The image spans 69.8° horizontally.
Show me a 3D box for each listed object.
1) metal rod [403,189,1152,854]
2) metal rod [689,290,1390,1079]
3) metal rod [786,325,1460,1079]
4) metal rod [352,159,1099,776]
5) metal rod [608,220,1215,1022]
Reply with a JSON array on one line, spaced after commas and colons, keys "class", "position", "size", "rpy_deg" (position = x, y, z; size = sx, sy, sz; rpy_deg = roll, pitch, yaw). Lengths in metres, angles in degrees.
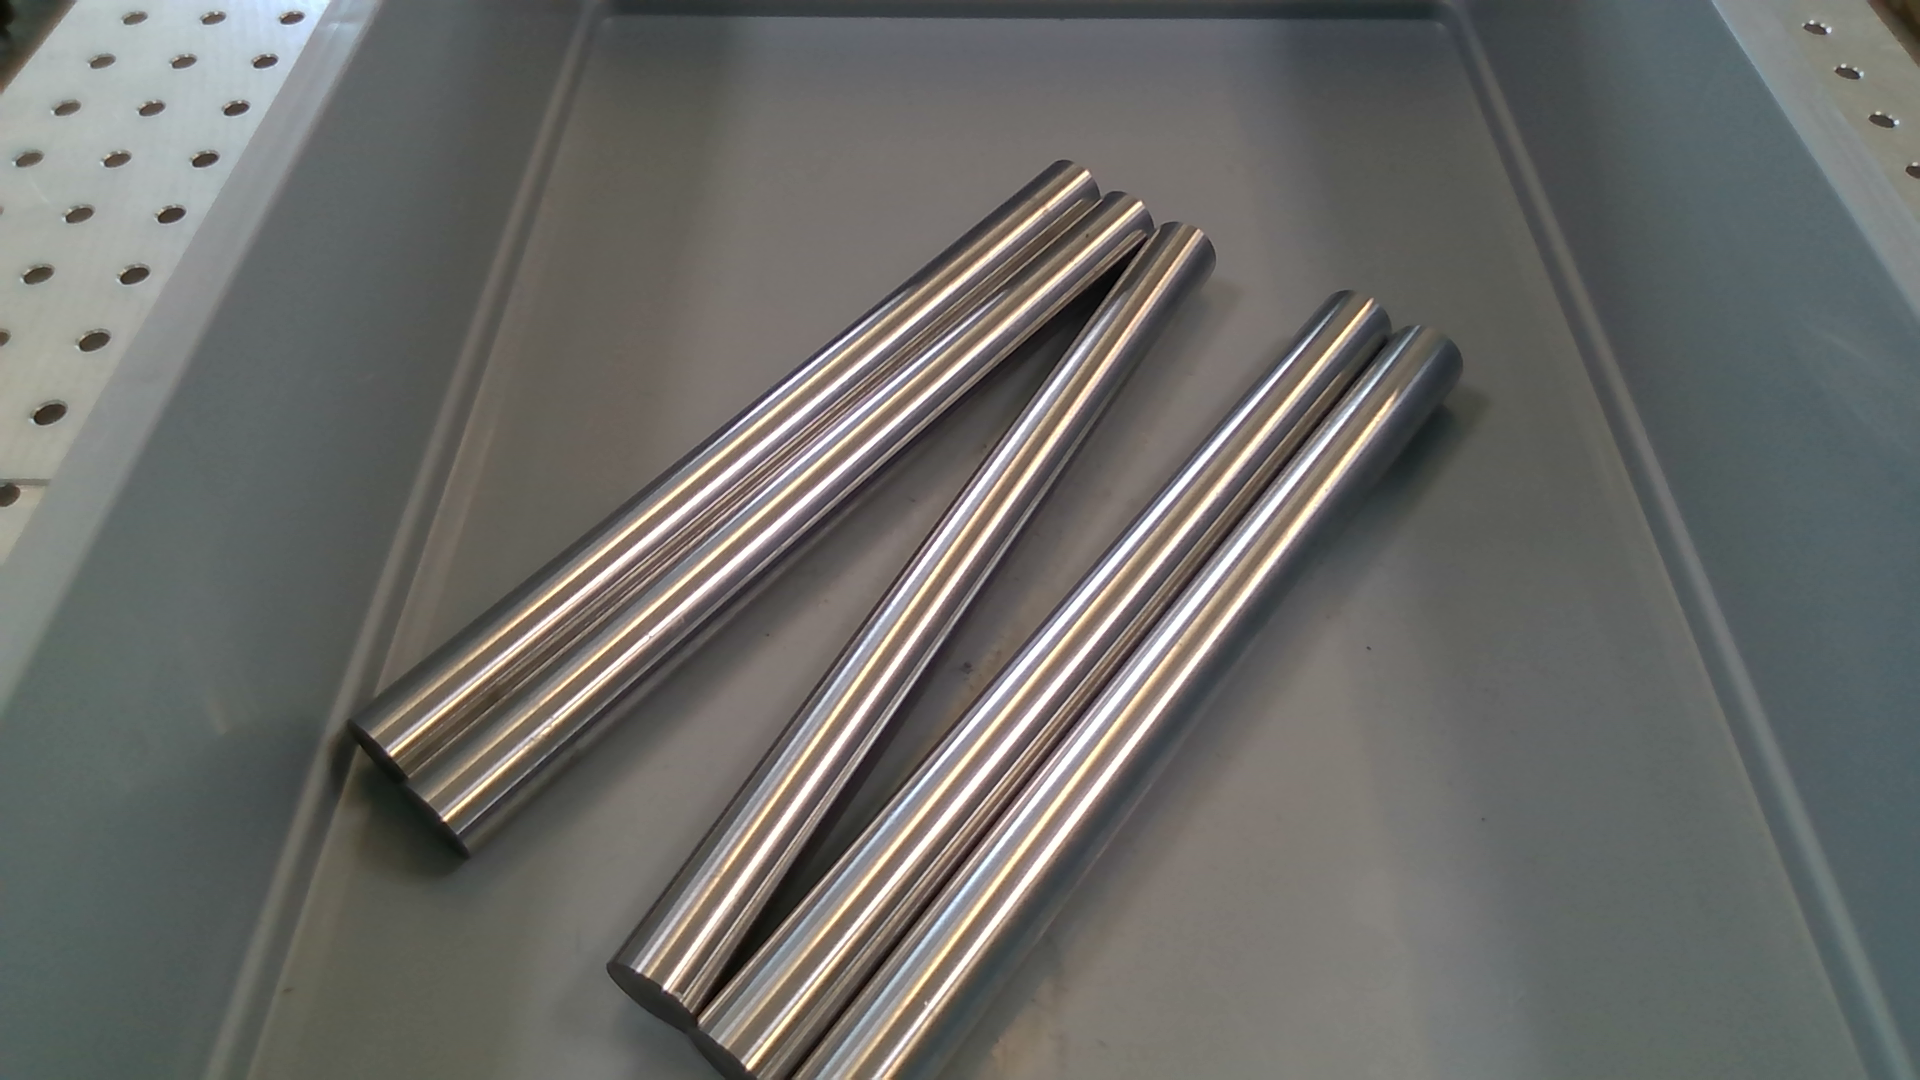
[{"class": "metal rod", "position": [-0.035, -0.022, 0.412], "size": [0.025, 0.025, 0.299], "rpy_deg": [31, 57, 23]}, {"class": "metal rod", "position": [0.040, 0.021, 0.375], "size": [0.025, 0.025, 0.299], "rpy_deg": [30, 56, 23]}, {"class": "metal rod", "position": [0.059, 0.034, 0.364], "size": [0.025, 0.025, 0.299], "rpy_deg": [30, 56, 23]}, {"class": "metal rod", "position": [-0.052, -0.036, 0.423], "size": [0.025, 0.025, 0.299], "rpy_deg": [31, 57, 23]}, {"class": "metal rod", "position": [0.004, 0.001, 0.392], "size": [0.025, 0.025, 0.299], "rpy_deg": [23, 54, 18]}]
